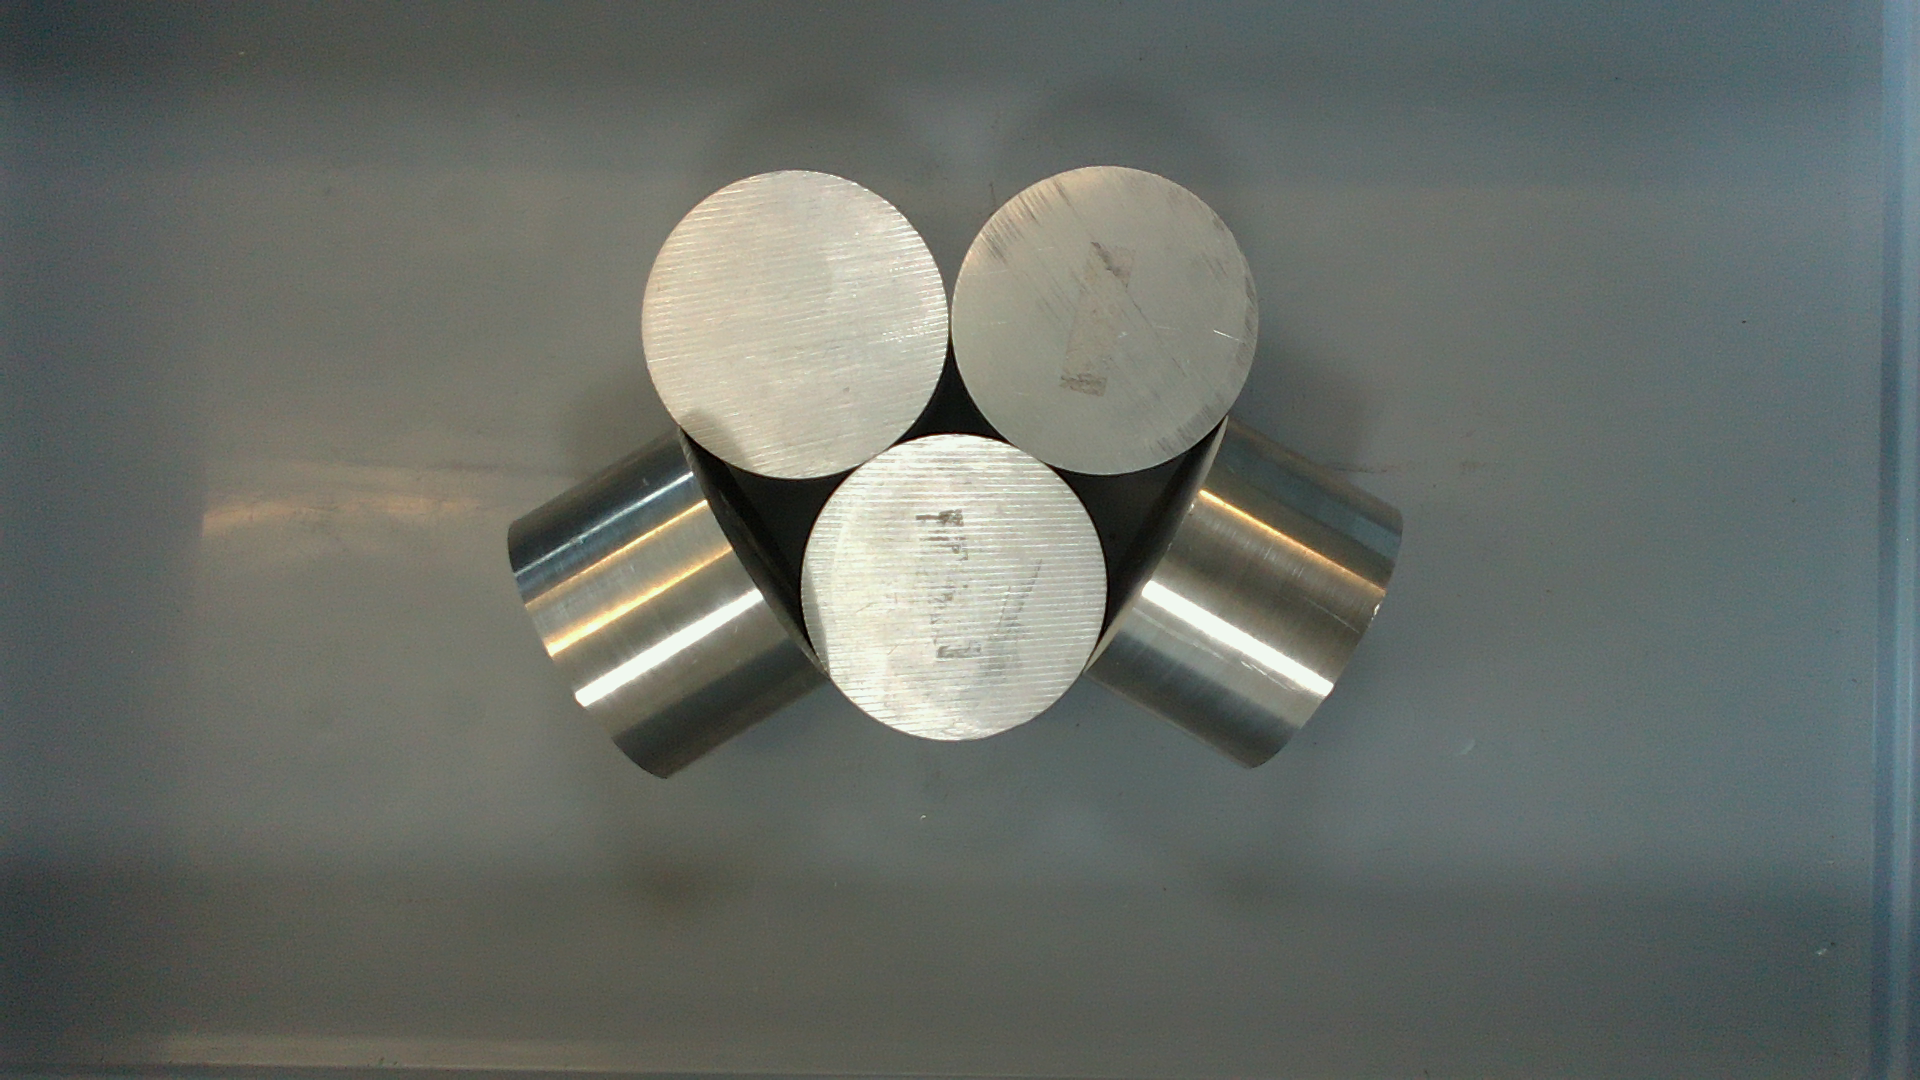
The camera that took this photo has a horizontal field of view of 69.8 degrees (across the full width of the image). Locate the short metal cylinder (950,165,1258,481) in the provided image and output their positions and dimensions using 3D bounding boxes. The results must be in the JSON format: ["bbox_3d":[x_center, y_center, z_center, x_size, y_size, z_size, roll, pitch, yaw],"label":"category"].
[{"bbox_3d":[0.037,-0.057,0.382,0.080,0.050,0.080,0,90,0],"label":"short metal cylinder"}]

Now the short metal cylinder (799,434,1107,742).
[{"bbox_3d":[-0.002,0.012,0.382,0.080,0.050,0.080,0,90,0],"label":"short metal cylinder"}]

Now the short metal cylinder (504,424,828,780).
[{"bbox_3d":[-0.076,0.016,0.366,0.050,0.080,0.080,-30,90,0],"label":"short metal cylinder"}]

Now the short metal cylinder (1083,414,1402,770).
[{"bbox_3d":[0.073,0.014,0.367,0.050,0.080,0.080,29,90,0],"label":"short metal cylinder"}]

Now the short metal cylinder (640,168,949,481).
[{"bbox_3d":[-0.043,-0.056,0.381,0.080,0.050,0.080,0,90,0],"label":"short metal cylinder"}]
